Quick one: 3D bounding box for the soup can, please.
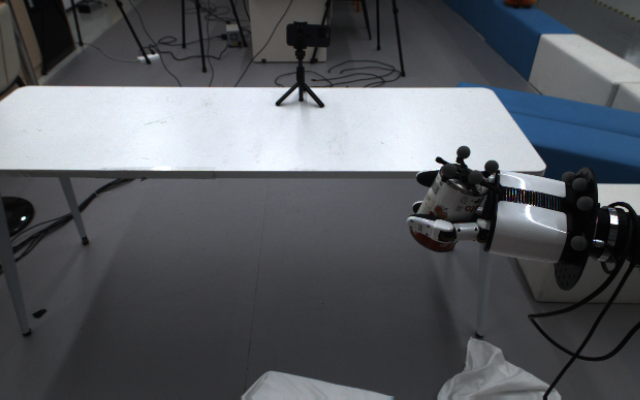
[{"bbox_3d":[0.172,0.010,0.646,0.067,0.101,0.067,14,35,-10],"label":"soup can"}]
